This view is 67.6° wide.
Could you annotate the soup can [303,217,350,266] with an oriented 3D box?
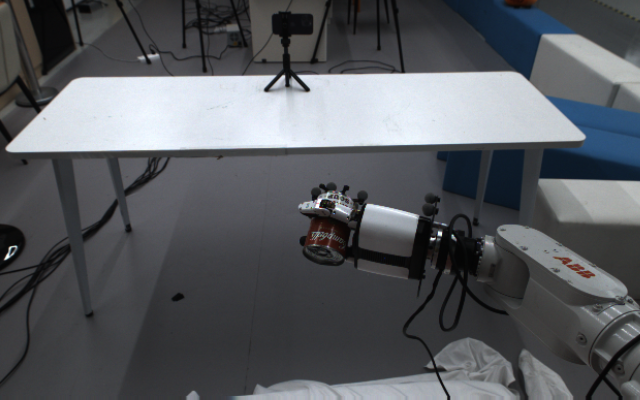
[{"bbox_3d":[0.016,0.044,0.766,0.067,0.067,0.101,9,58,10],"label":"soup can"}]
